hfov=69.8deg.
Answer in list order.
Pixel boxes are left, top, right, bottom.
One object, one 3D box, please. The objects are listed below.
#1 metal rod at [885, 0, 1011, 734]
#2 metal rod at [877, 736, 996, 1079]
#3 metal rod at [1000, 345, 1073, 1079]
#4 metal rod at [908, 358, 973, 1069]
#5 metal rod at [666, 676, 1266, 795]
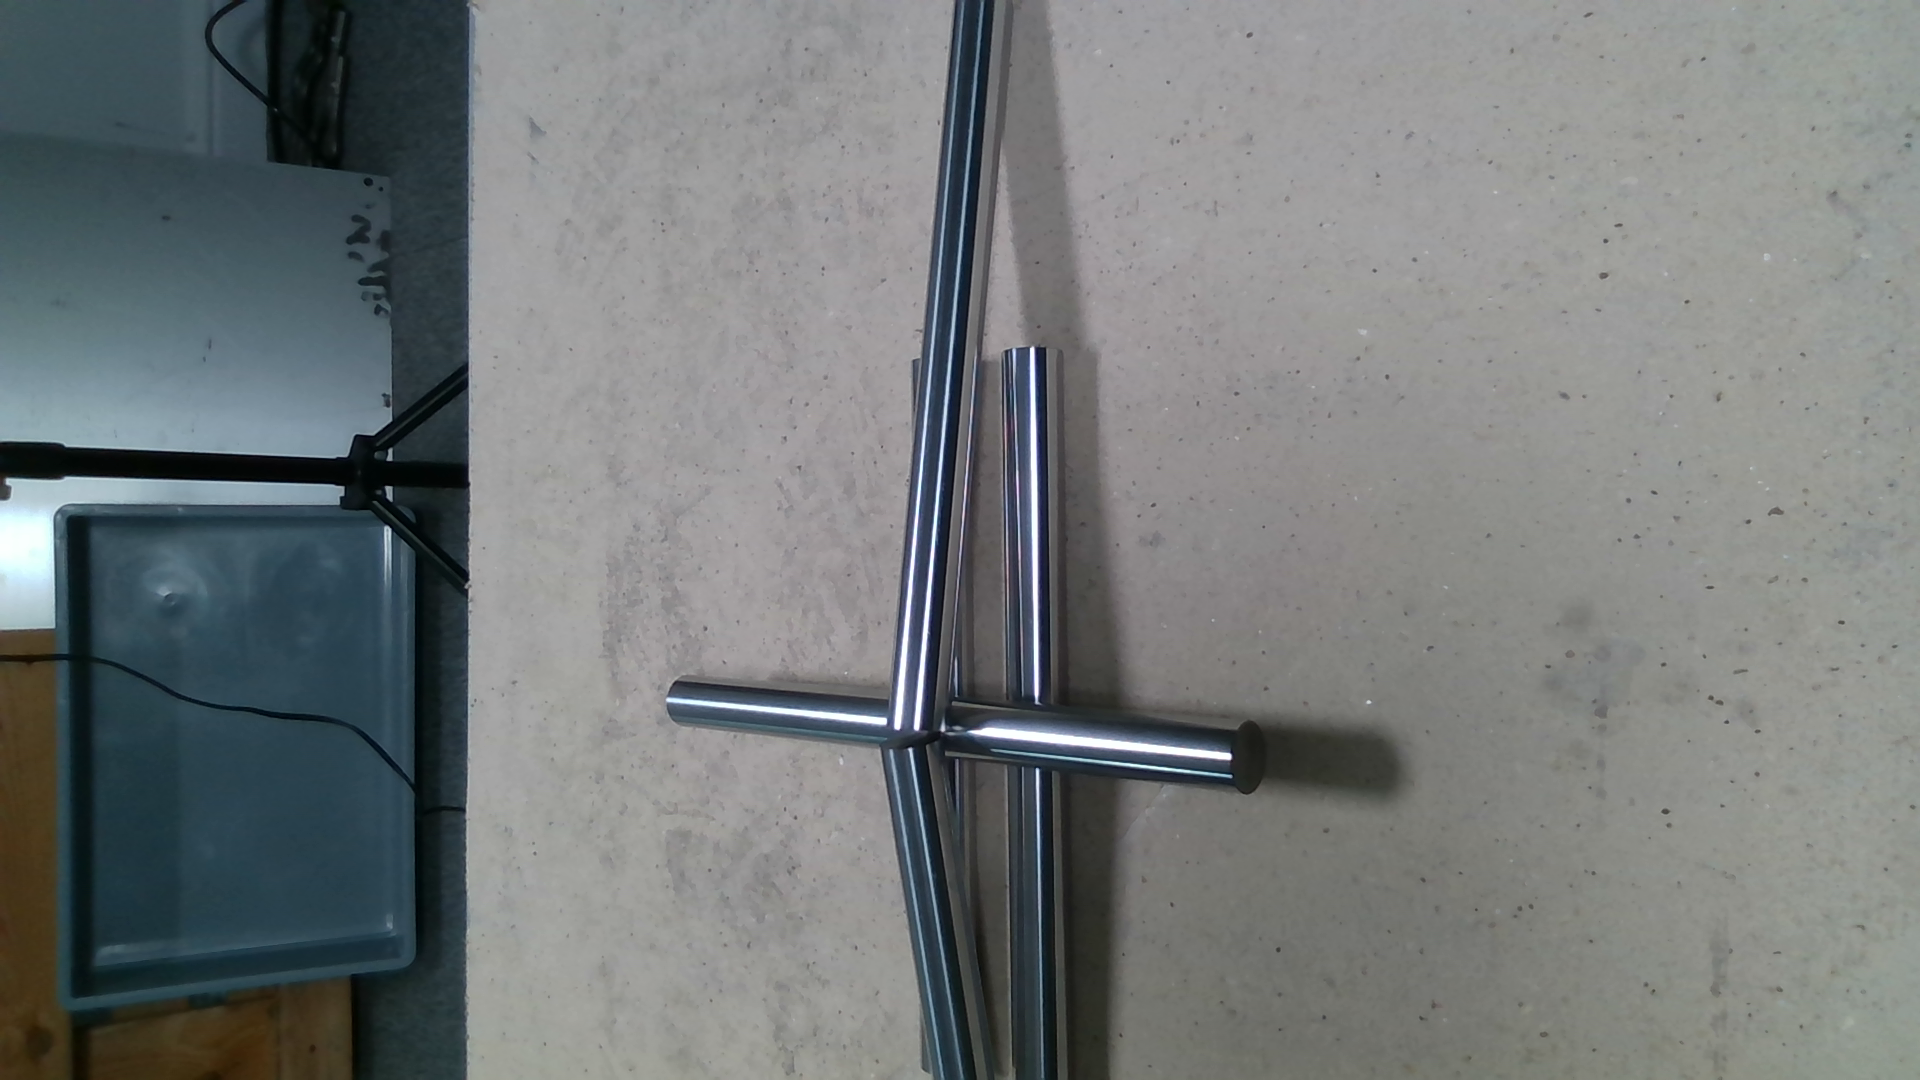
[{"bbox_3d":[-0.004,-0.074,0.552,0.025,0.025,0.300,-2,80,40],"label":"metal rod"},{"bbox_3d":[0.003,0.224,0.549,0.025,0.025,0.300,-4,98,40],"label":"metal rod"},{"bbox_3d":[0.031,0.073,0.556,0.025,0.025,0.300,-1,90,40],"label":"metal rod"},{"bbox_3d":[-0.007,0.073,0.589,0.025,0.025,0.300,-1,90,40],"label":"metal rod"},{"bbox_3d":[-0.017,0.075,0.564,0.300,0.025,0.025,-1,90,40],"label":"metal rod"}]
